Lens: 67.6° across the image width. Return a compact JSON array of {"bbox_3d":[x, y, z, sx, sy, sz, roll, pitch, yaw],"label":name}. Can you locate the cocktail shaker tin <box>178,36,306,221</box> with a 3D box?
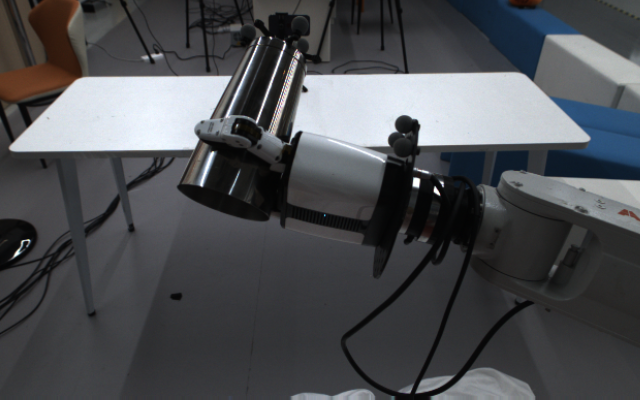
[{"bbox_3d":[-0.068,-0.073,0.489,0.093,0.093,0.170,13,74,15],"label":"cocktail shaker tin"}]
